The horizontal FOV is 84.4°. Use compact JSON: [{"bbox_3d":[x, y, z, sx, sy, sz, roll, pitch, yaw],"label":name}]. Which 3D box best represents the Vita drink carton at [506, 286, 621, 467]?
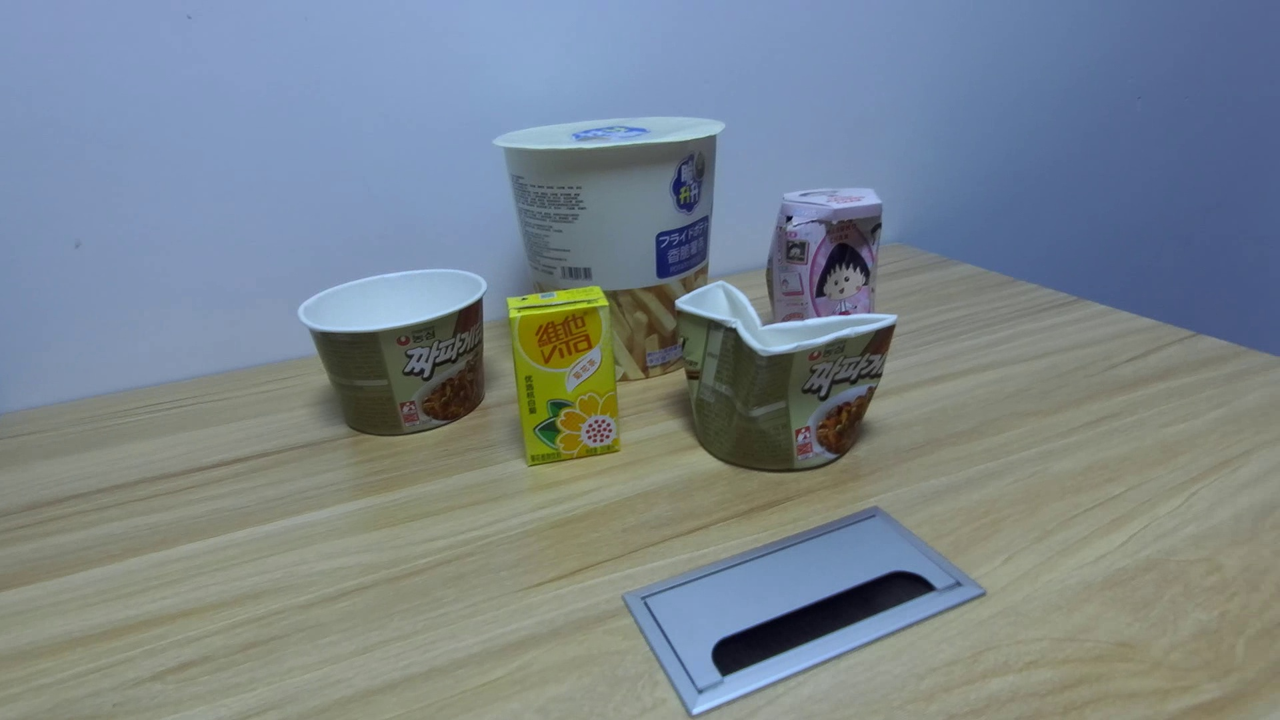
[{"bbox_3d":[-0.051,0.010,0.478,0.067,0.109,0.043,-7,24,-9],"label":"Vita drink carton"}]

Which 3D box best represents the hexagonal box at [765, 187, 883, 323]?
[{"bbox_3d":[0.158,-0.074,0.607,0.091,0.134,0.090,5,23,20],"label":"hexagonal box"}]

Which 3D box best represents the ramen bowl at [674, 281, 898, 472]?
[{"bbox_3d":[0.089,0.005,0.484,0.112,0.093,0.127,-16,27,-25],"label":"ramen bowl"}]

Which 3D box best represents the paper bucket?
[{"bbox_3d":[-0.019,-0.098,0.613,0.198,0.195,0.198,-3,24,2],"label":"paper bucket"}]

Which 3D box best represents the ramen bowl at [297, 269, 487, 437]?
[{"bbox_3d":[-0.185,-0.007,0.563,0.140,0.095,0.140,-3,25,2],"label":"ramen bowl"}]
